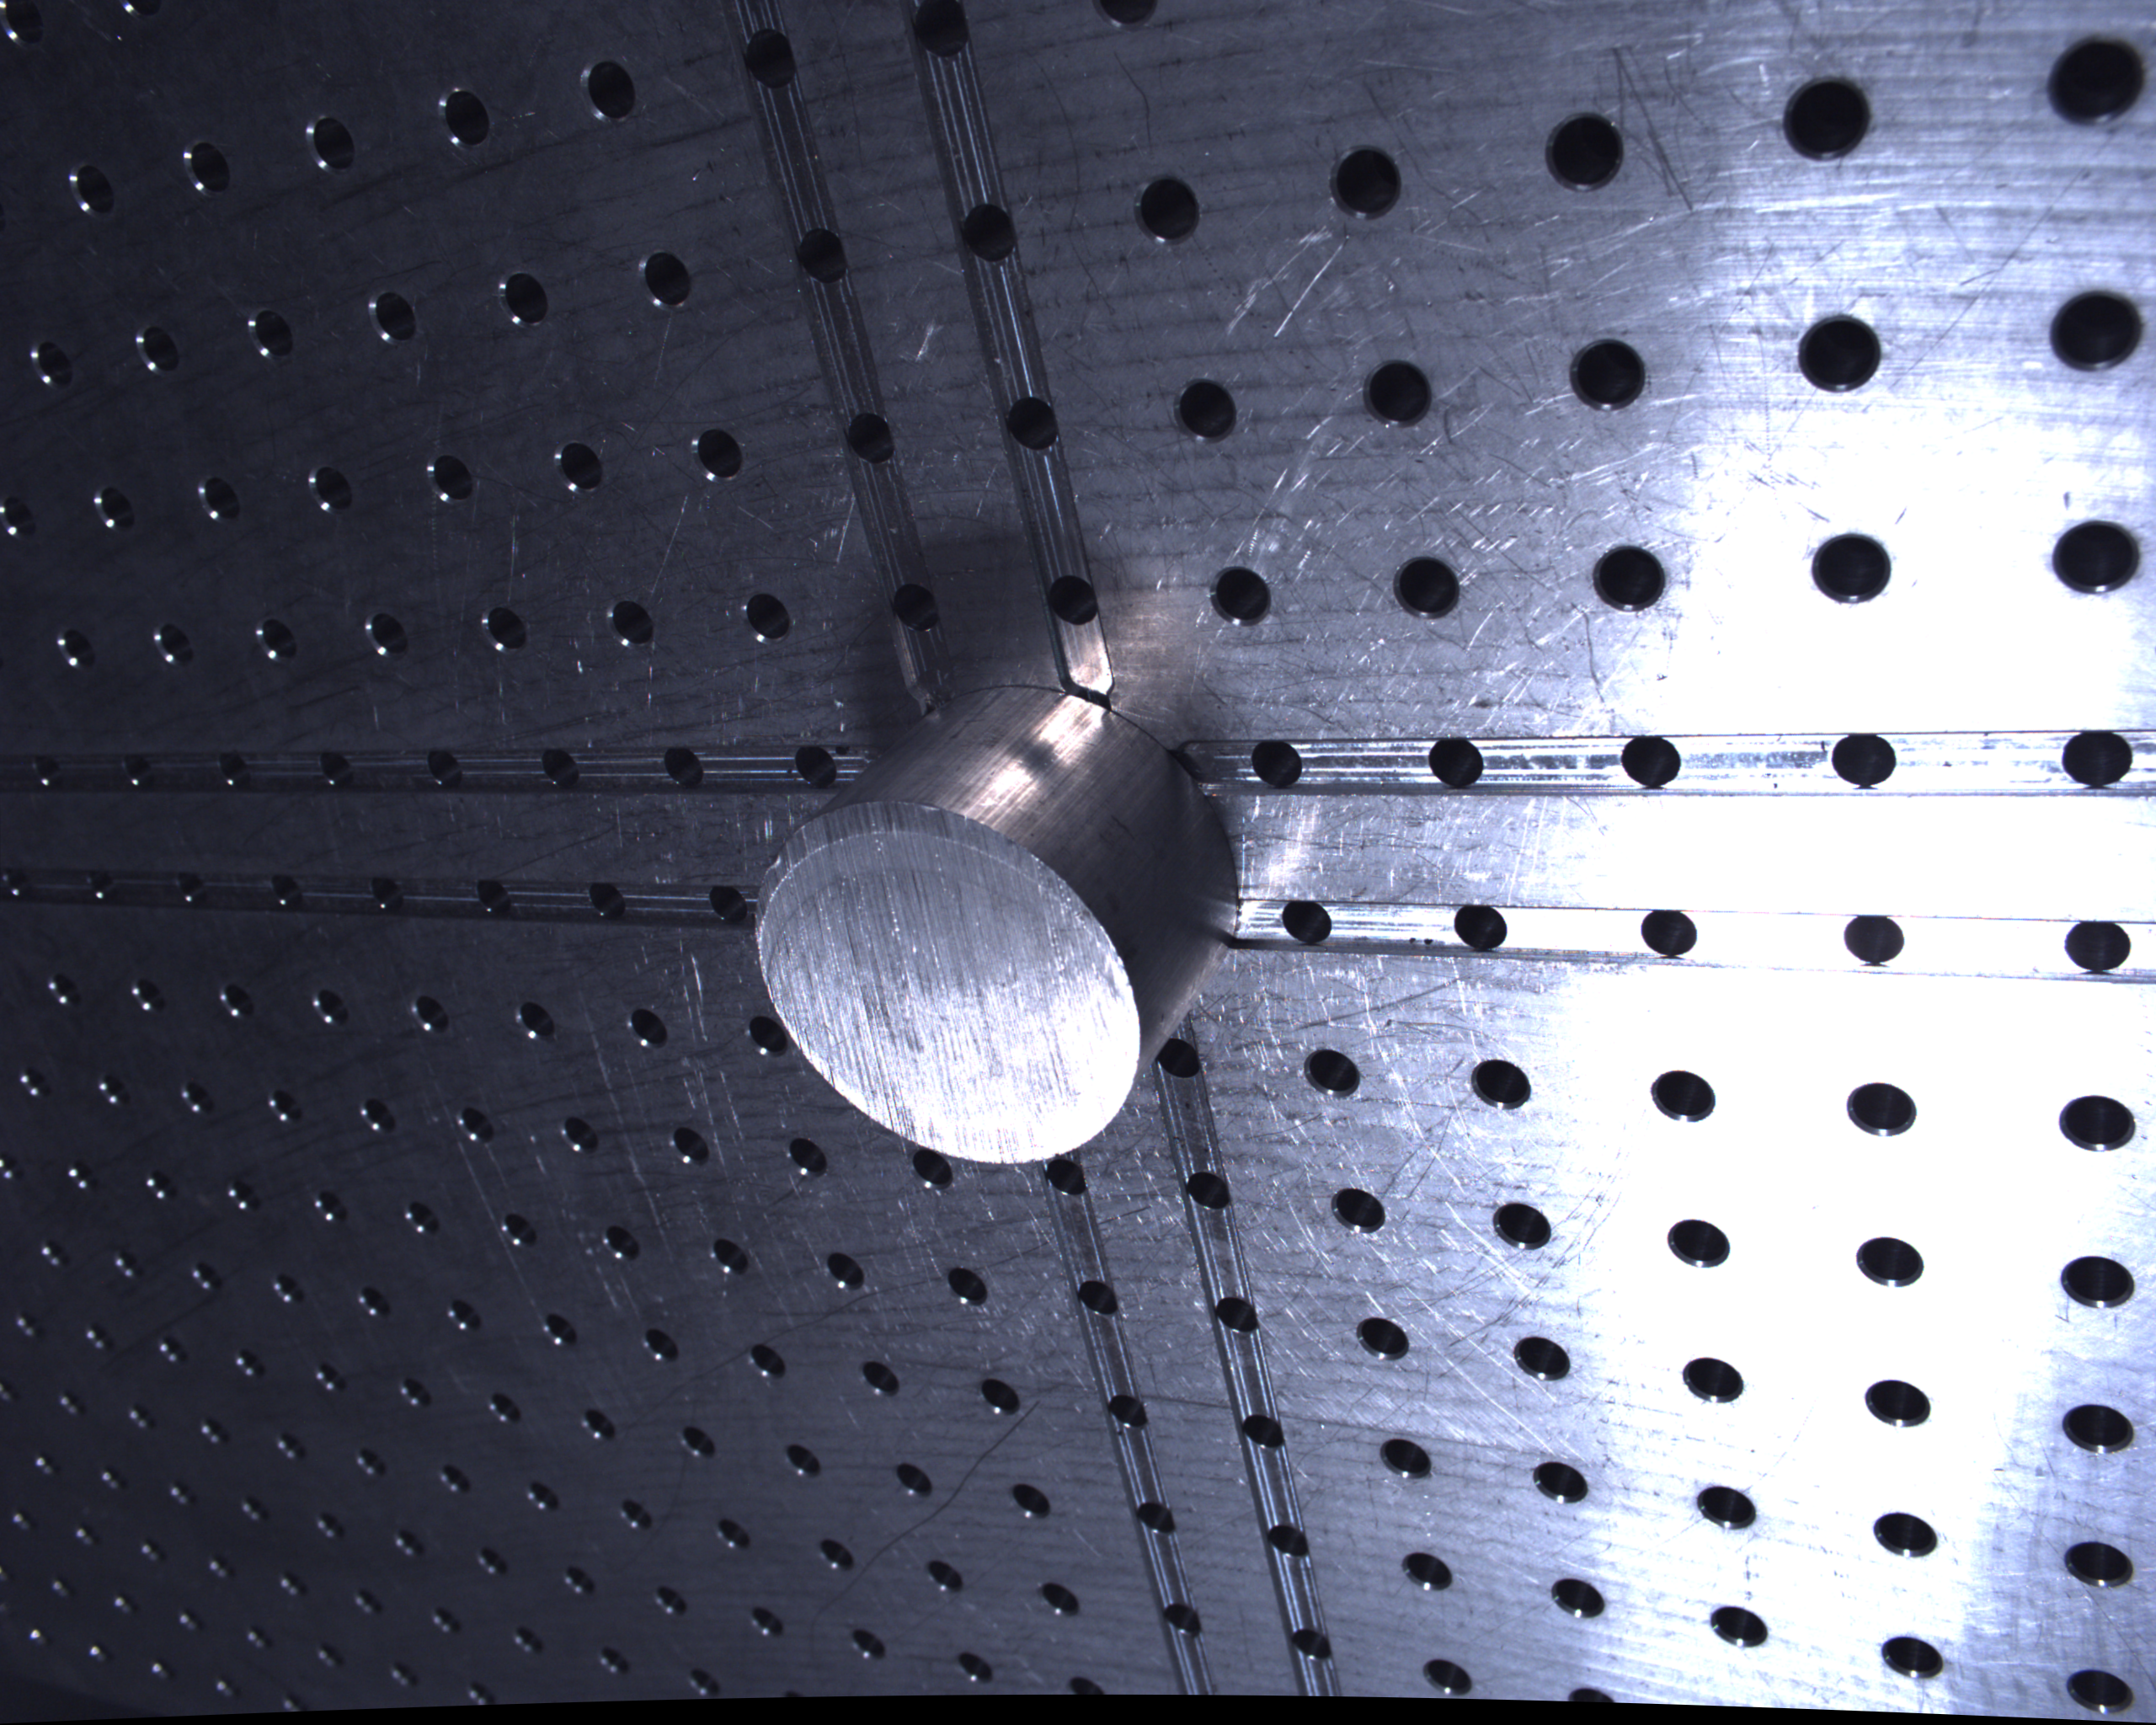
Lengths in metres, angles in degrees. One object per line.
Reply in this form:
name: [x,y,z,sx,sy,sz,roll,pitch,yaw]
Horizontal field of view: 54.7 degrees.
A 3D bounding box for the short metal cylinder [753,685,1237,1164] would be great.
short metal cylinder: [-0.016,0.012,0.408,0.080,0.050,0.079,13,124,20]
